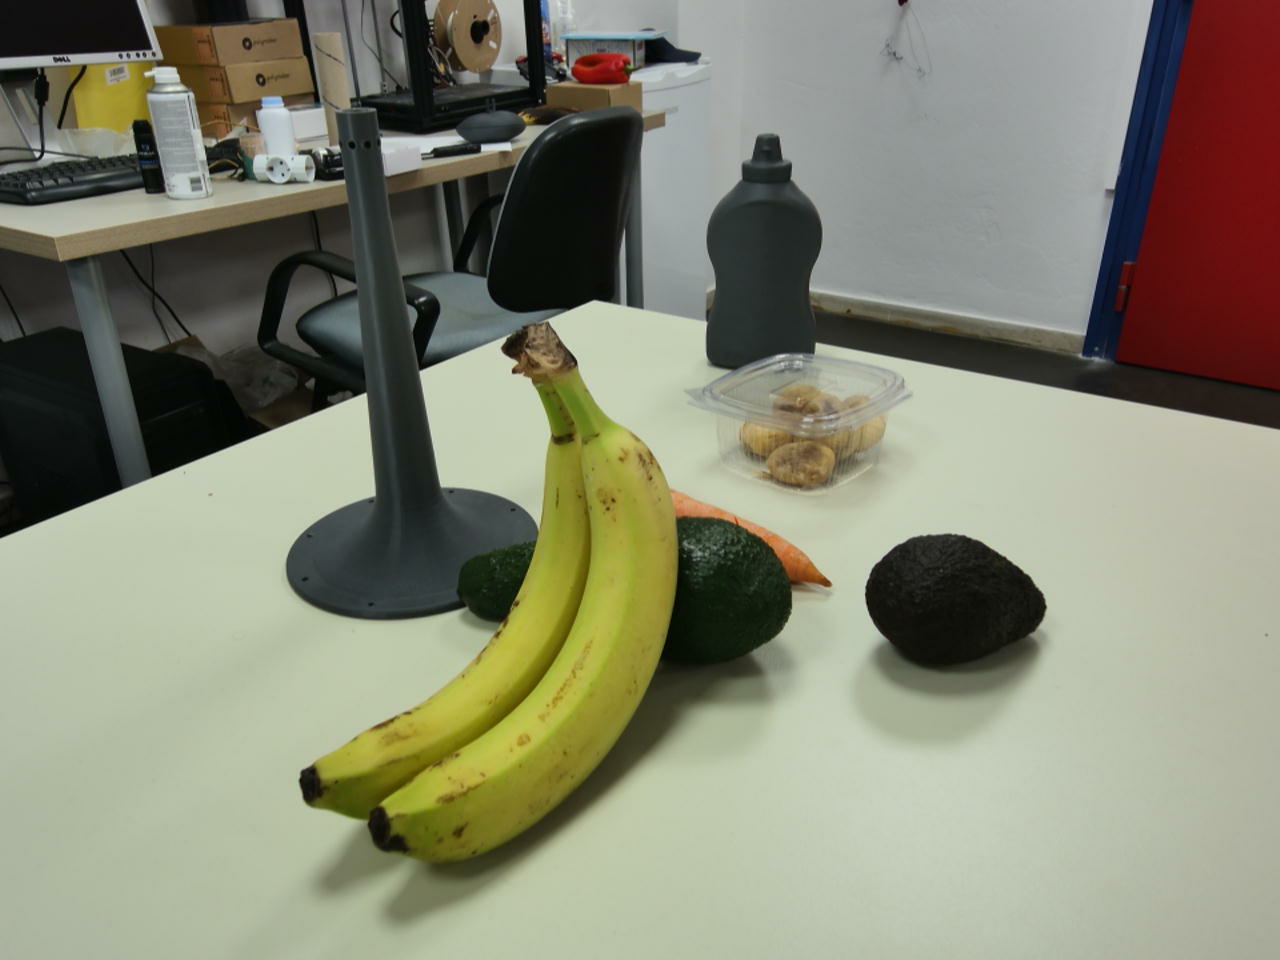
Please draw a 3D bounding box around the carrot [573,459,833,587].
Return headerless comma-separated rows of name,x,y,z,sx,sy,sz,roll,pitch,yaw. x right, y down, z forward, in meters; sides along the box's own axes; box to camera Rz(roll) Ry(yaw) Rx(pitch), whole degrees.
carrot,0.038,0.025,0.649,0.196,0.041,0.039,18,30,32
